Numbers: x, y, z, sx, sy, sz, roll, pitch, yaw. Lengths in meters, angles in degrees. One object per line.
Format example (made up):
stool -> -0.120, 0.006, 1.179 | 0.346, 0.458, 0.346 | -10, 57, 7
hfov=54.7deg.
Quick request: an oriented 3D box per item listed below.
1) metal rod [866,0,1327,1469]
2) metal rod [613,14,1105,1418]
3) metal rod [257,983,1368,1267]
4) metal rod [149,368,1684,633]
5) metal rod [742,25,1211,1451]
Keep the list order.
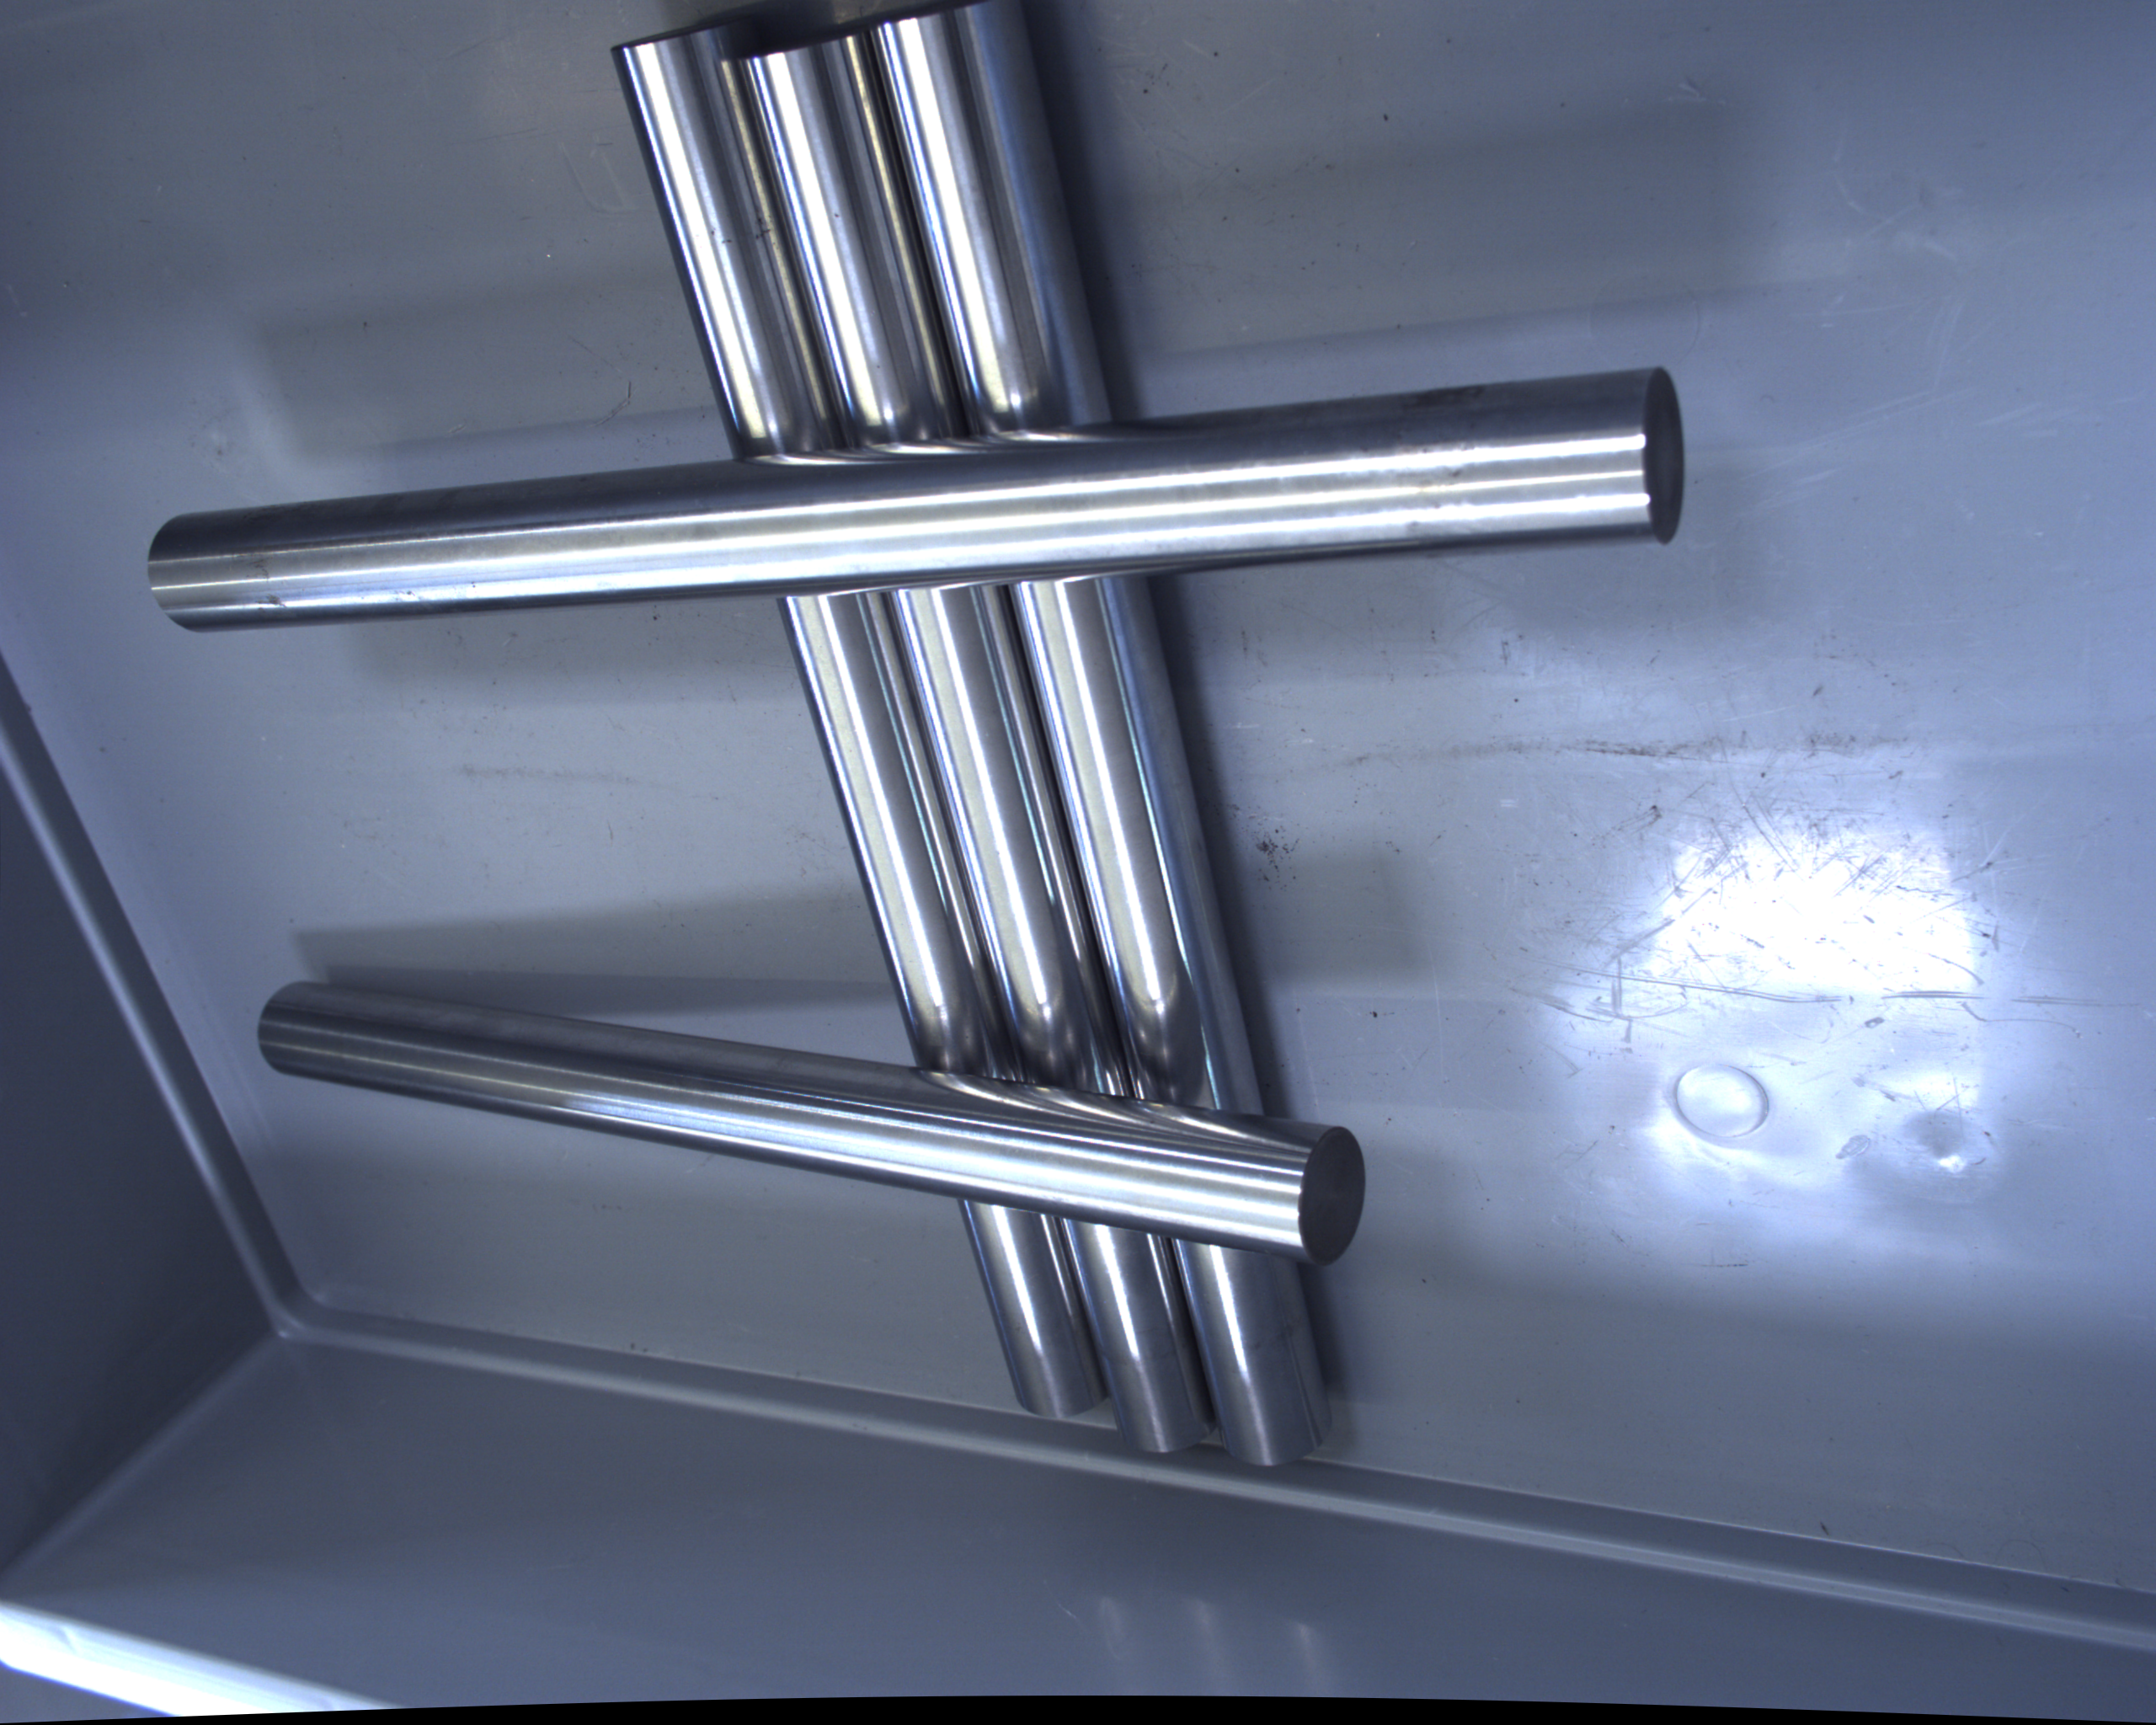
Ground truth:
metal rod -> 0.010, -0.006, 0.397 | 0.025, 0.025, 0.298 | 1, 119, 28
metal rod -> -0.034, -0.011, 0.419 | 0.025, 0.025, 0.298 | 0, 119, 28
metal rod -> -0.078, 0.051, 0.457 | 0.300, 0.025, 0.025 | 4, 121, 34
metal rod -> -0.050, -0.059, 0.365 | 0.300, 0.025, 0.025 | 1, 119, 28
metal rod -> -0.011, -0.006, 0.410 | 0.025, 0.025, 0.298 | 1, 119, 28
